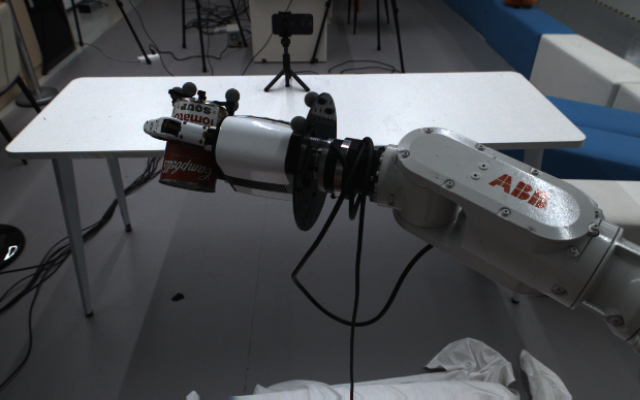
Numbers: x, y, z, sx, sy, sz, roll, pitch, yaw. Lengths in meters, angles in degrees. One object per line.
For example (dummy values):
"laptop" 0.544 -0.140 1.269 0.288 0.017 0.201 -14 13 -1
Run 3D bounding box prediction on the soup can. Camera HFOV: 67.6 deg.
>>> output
"soup can" -0.152 -0.064 0.588 0.067 0.101 0.067 8 -6 1
